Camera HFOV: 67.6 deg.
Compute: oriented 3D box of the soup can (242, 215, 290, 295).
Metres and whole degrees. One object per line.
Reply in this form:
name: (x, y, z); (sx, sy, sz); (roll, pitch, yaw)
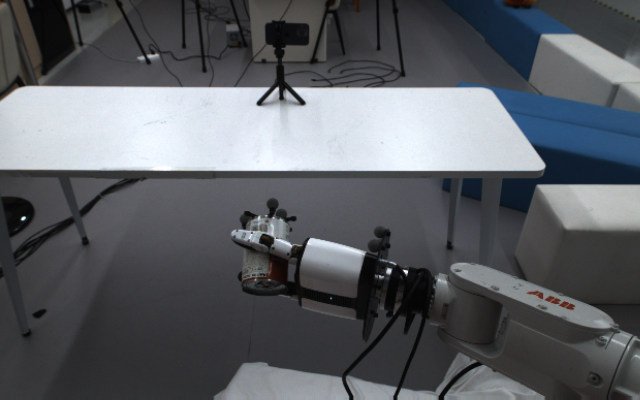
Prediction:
soup can: (-0.077, 0.082, 0.706); (0.067, 0.067, 0.101); (0, 61, -3)
